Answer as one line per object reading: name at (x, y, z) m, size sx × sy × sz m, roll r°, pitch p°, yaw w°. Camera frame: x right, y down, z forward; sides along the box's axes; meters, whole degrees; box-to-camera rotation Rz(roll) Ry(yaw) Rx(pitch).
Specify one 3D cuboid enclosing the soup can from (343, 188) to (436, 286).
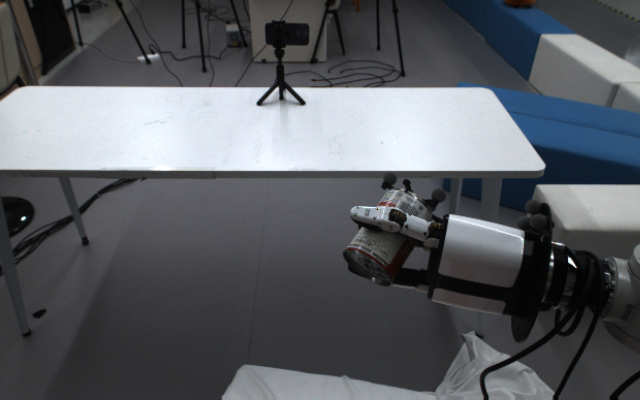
soup can at (0.084, 0.042, 0.588) m, size 0.067 × 0.067 × 0.101 m, roll 25°, pitch 67°, yaw 30°
